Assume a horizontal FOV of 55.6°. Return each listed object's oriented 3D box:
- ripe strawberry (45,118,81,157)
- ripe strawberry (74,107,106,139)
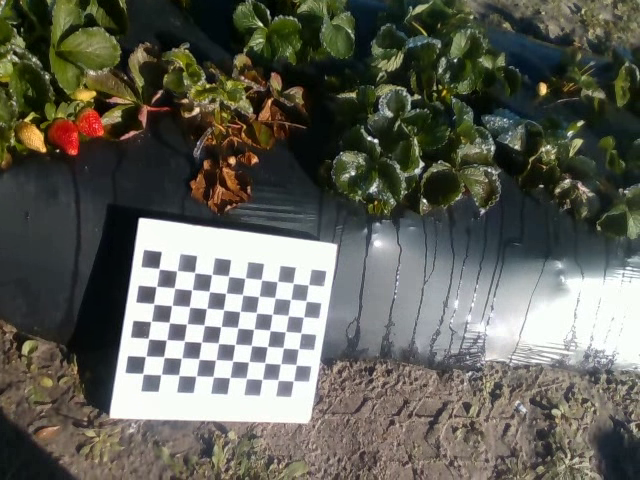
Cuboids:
[{"bbox_3d":[-0.301,-0.117,0.714,0.036,0.052,0.040,-32,-24,-15],"label":"ripe strawberry"},{"bbox_3d":[-0.281,-0.143,0.737,0.041,0.036,0.030,36,-7,-13],"label":"ripe strawberry"}]
